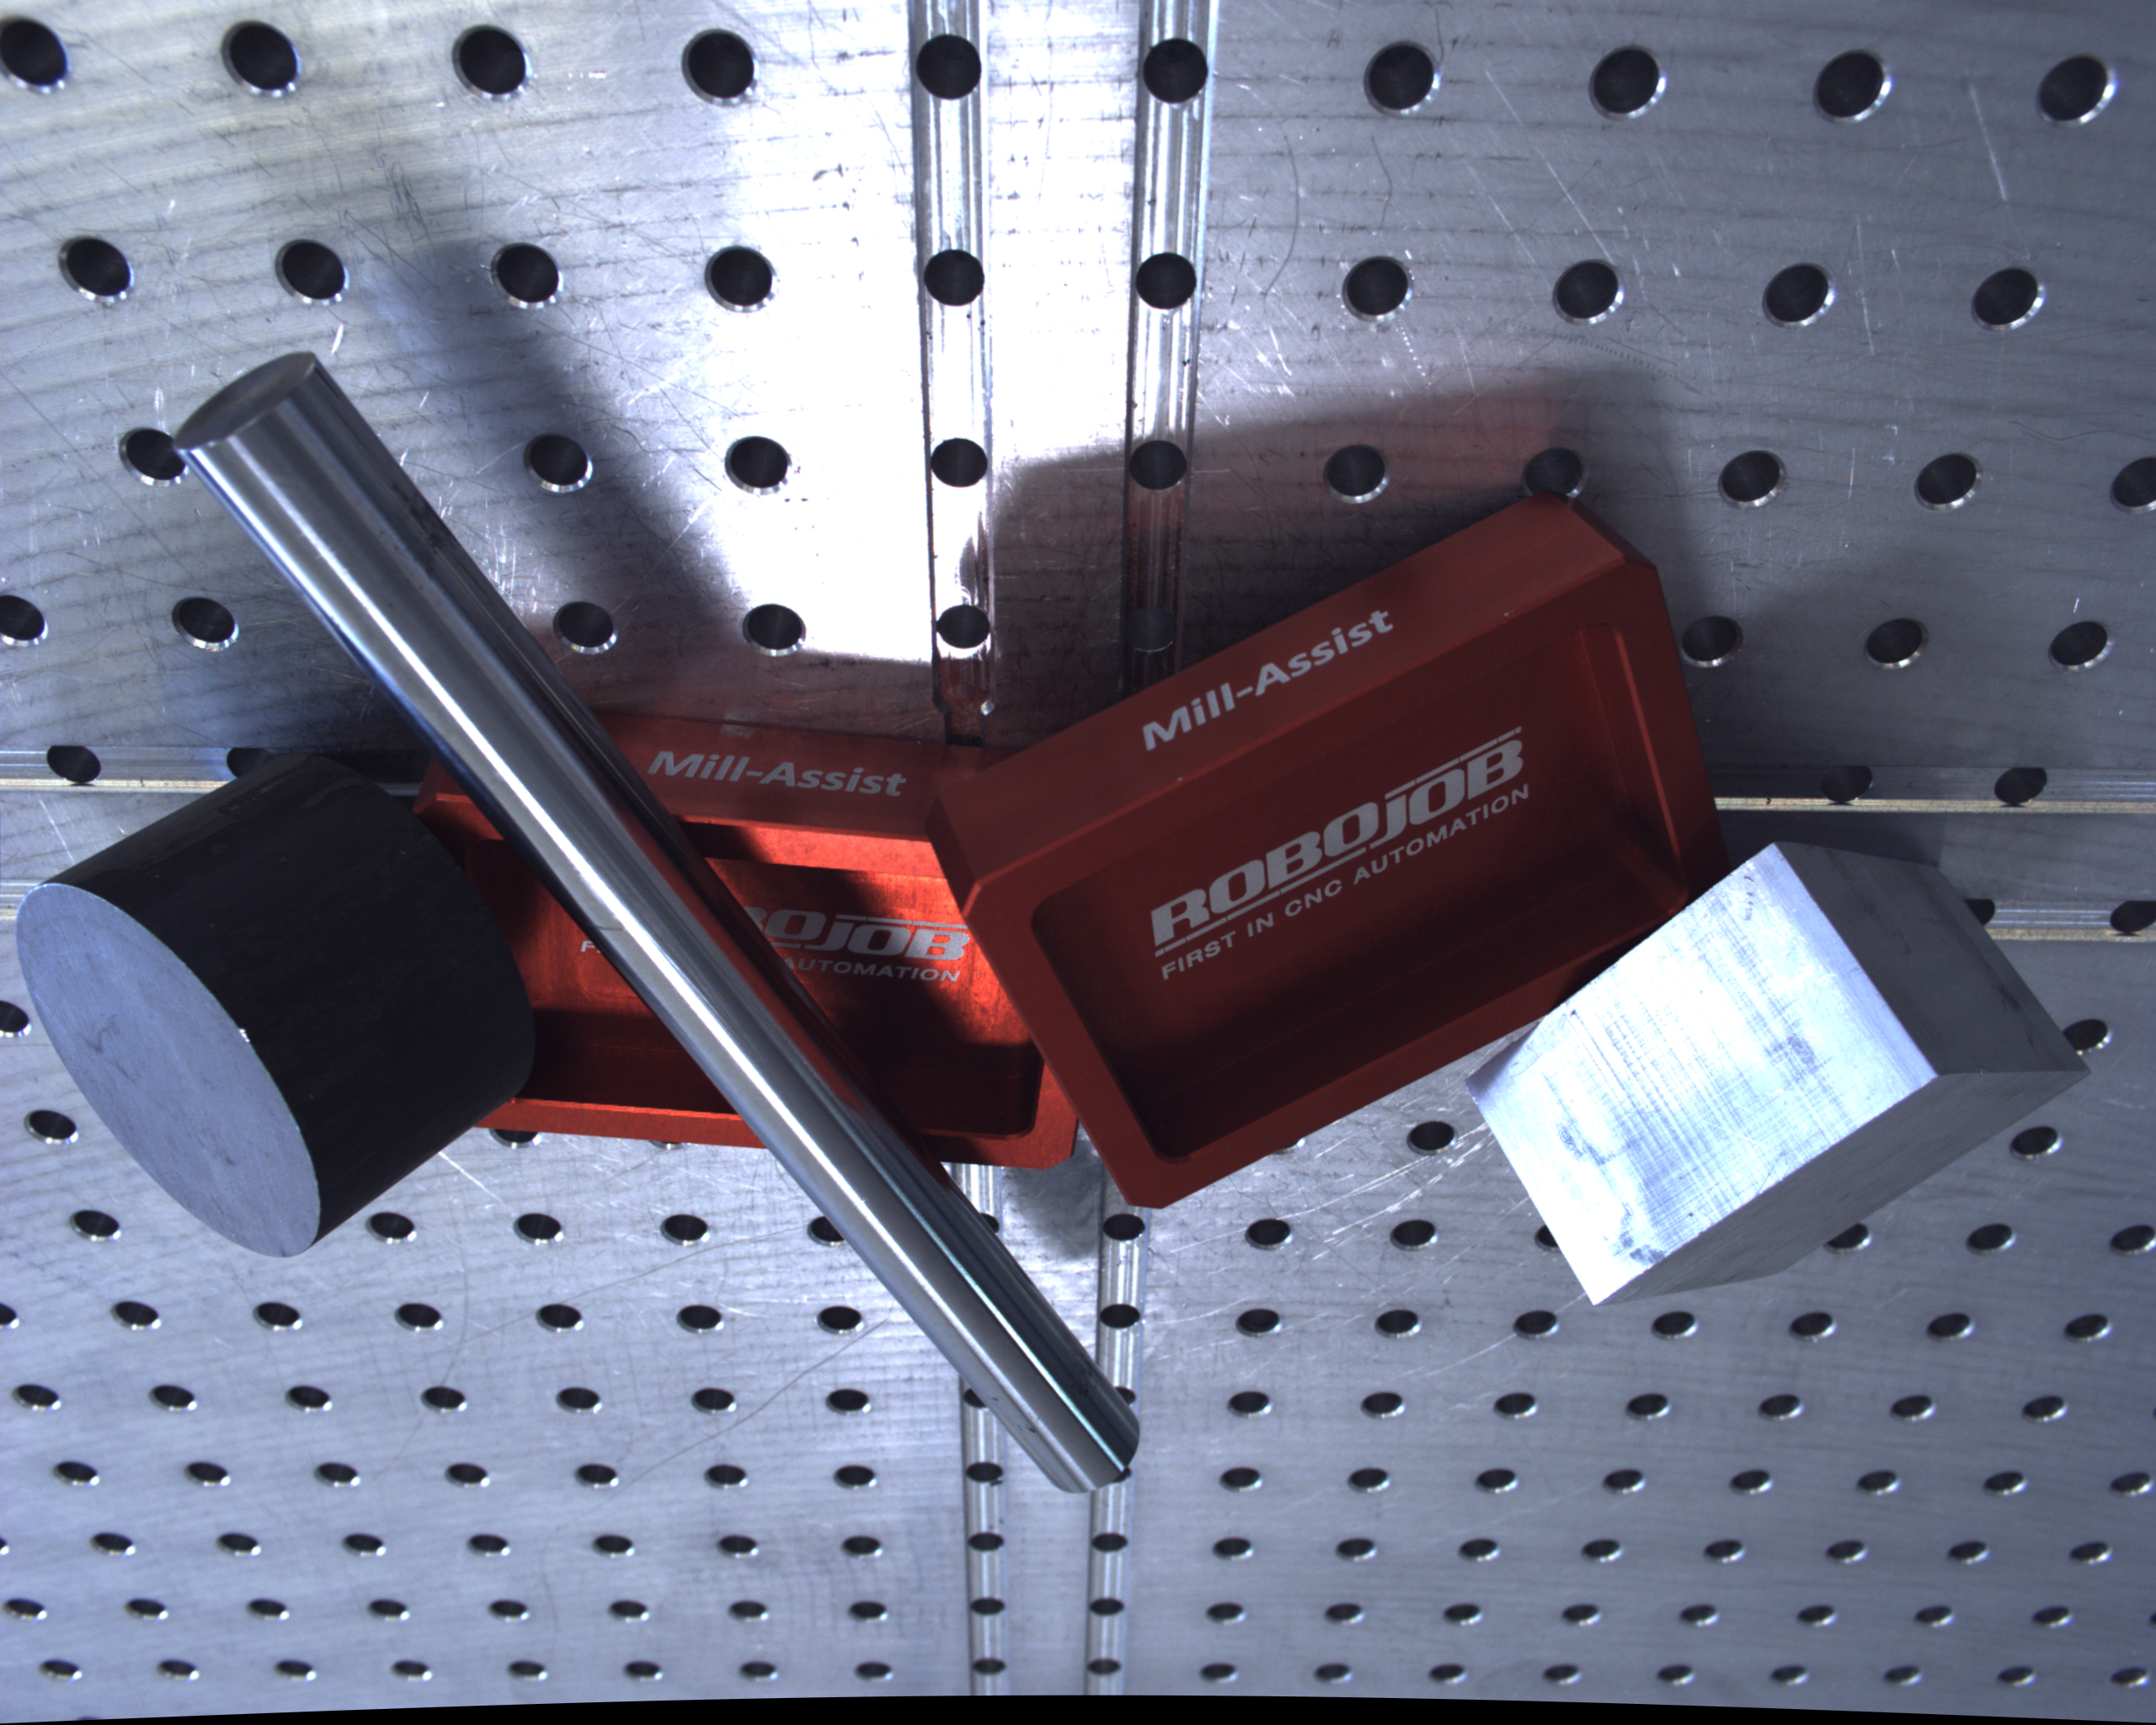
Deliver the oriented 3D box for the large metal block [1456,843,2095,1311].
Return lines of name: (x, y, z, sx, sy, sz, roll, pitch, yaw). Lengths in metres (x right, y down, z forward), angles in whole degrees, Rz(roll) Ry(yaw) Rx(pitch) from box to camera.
large metal block: (0.137, 0.043, 0.410, 0.081, 0.050, 0.080, 6, 139, -48)

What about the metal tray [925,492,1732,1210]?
metal tray: (0.050, 0.001, 0.385, 0.130, 0.030, 0.090, -27, 127, 0)

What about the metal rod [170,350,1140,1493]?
metal rod: (-0.061, 0.033, 0.400, 0.025, 0.025, 0.299, -20, 128, 16)

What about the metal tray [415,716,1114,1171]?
metal tray: (-0.061, 0.018, 0.422, 0.131, 0.030, 0.089, 5, 130, -5)

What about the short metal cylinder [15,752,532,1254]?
short metal cylinder: (-0.150, 0.026, 0.392, 0.080, 0.050, 0.079, 22, 131, 27)
